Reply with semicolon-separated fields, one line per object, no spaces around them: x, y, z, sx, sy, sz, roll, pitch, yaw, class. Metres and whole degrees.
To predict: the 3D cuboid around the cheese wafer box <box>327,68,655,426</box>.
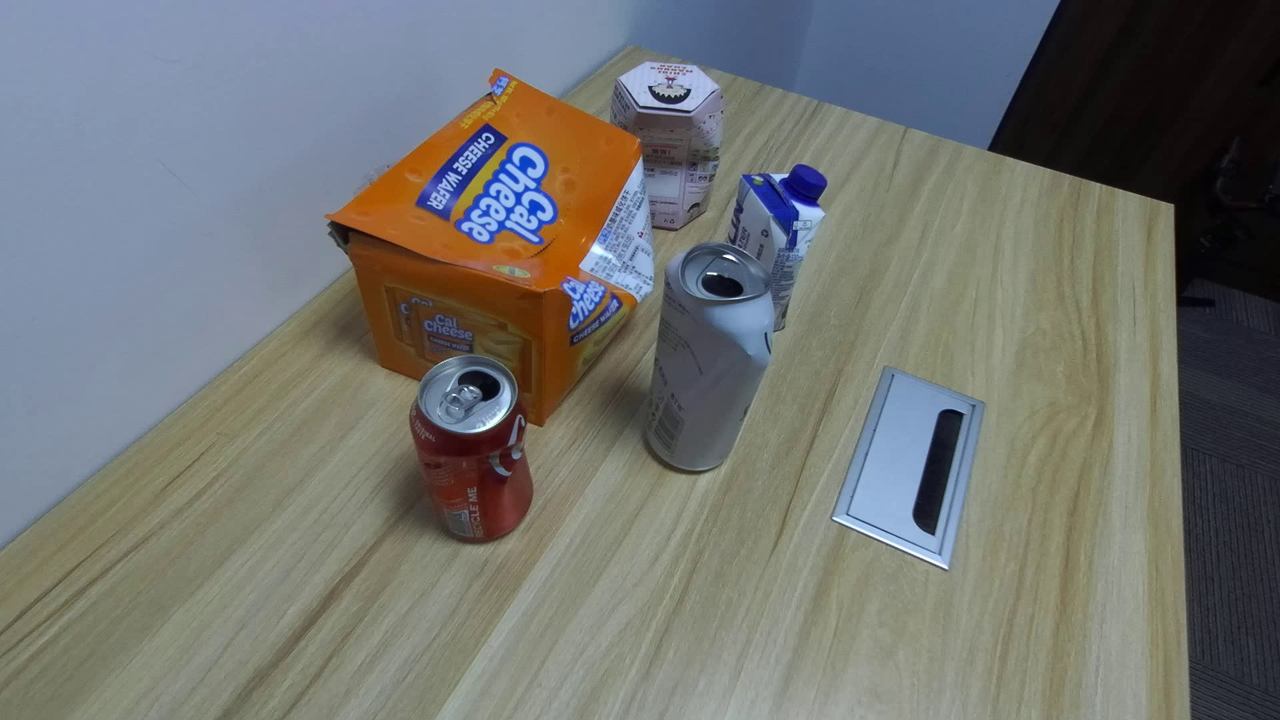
-0.080;-0.090;0.541;0.191;0.145;0.219;18;49;11;cheese wafer box

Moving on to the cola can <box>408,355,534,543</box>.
-0.100;0.056;0.430;0.066;0.117;0.066;-11;49;-15;cola can

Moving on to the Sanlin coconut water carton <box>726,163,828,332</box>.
0.101;-0.086;0.556;0.058;0.142;0.077;-8;50;-19;Sanlin coconut water carton

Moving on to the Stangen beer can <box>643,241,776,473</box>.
0.043;0.004;0.457;0.077;0.162;0.066;17;49;9;Stangen beer can

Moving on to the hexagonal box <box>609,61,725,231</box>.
0.023;-0.190;0.646;0.090;0.134;0.091;-36;61;-29;hexagonal box
